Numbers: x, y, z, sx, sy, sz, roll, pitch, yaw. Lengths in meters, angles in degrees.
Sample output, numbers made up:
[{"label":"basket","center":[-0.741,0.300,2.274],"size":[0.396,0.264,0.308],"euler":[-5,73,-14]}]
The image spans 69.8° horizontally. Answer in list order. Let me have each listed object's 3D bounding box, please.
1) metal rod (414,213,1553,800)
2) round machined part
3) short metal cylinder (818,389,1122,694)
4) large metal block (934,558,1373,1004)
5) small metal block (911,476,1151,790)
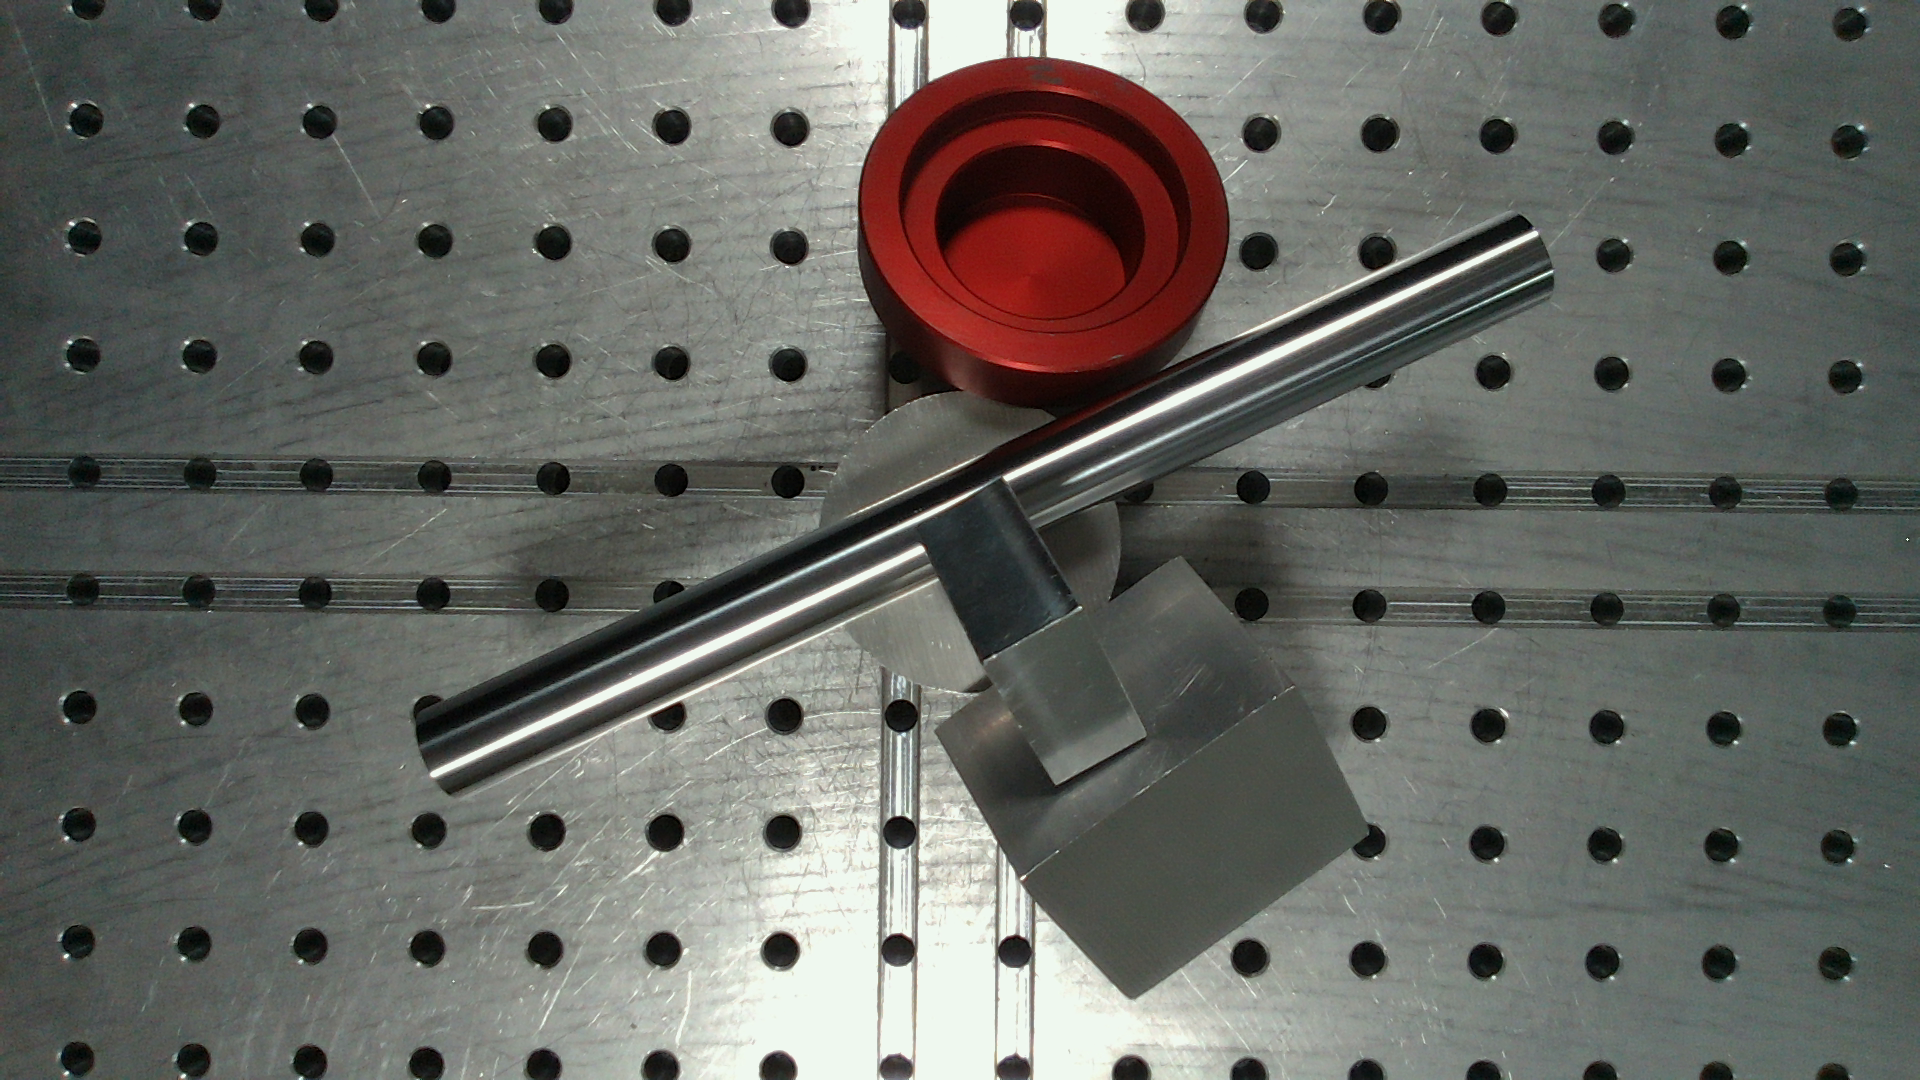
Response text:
[{"label":"metal rod","center":[0.006,-0.008,0.347],"size":[0.300,0.025,0.025],"euler":[-25,90,0]},{"label":"round machined part","center":[0.021,-0.080,0.377],"size":[0.098,0.042,0.098],"euler":[2,68,-5]},{"label":"short metal cylinder","center":[0.002,0.000,0.385],"size":[0.080,0.050,0.080],"euler":[0,90,0]},{"label":"large metal block","center":[0.053,0.065,0.363],"size":[0.080,0.050,0.080],"euler":[-35,135,0]},{"label":"small metal block","center":[0.017,0.022,0.325],"size":[0.025,0.050,0.050],"euler":[-29,132,0]}]
